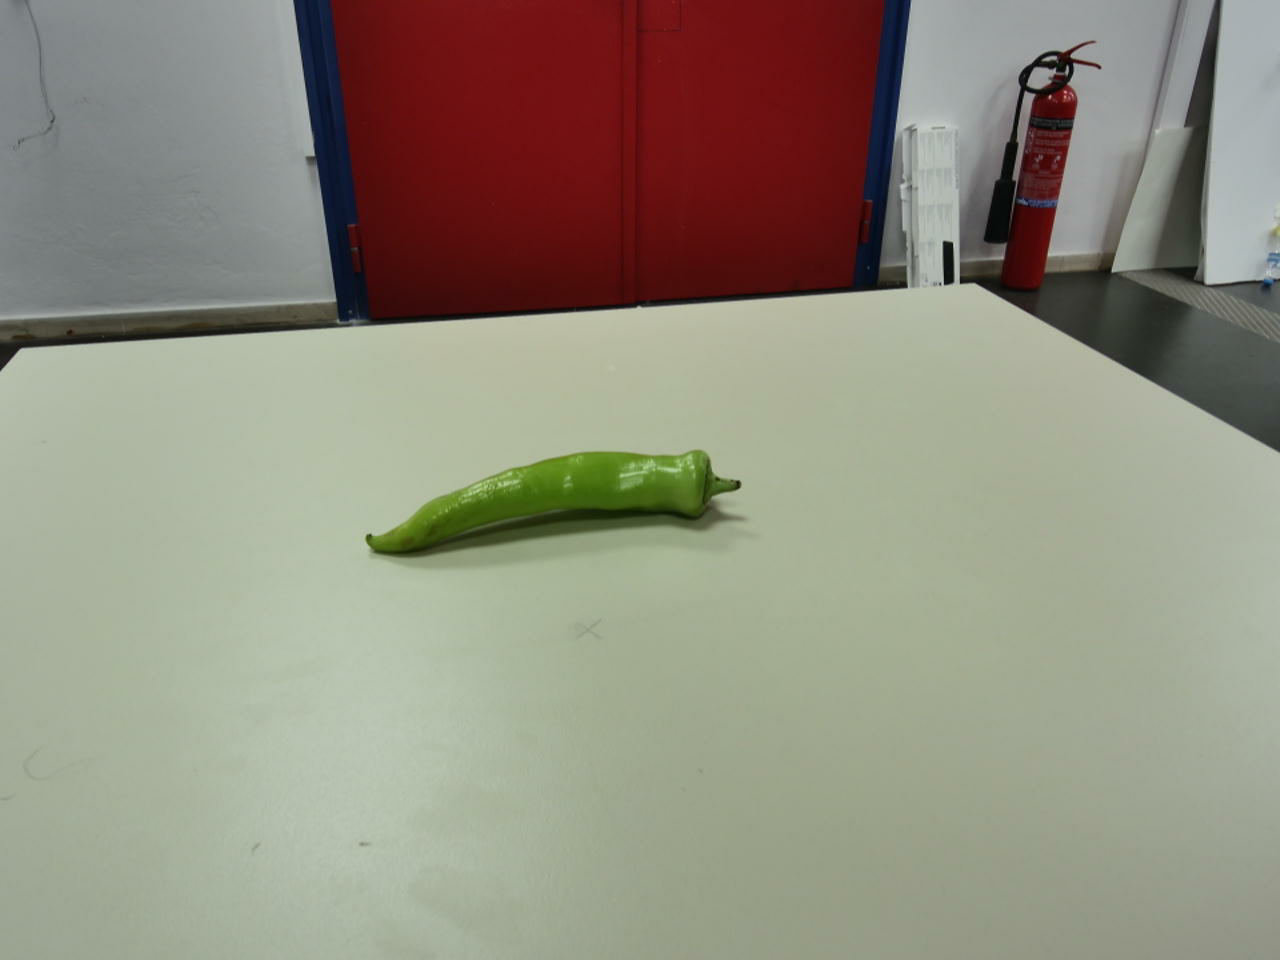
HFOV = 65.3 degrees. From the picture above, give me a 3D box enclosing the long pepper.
[{"bbox_3d":[-0.045,0.006,0.528,0.197,0.038,0.046,-5,26,-10],"label":"long pepper"}]
